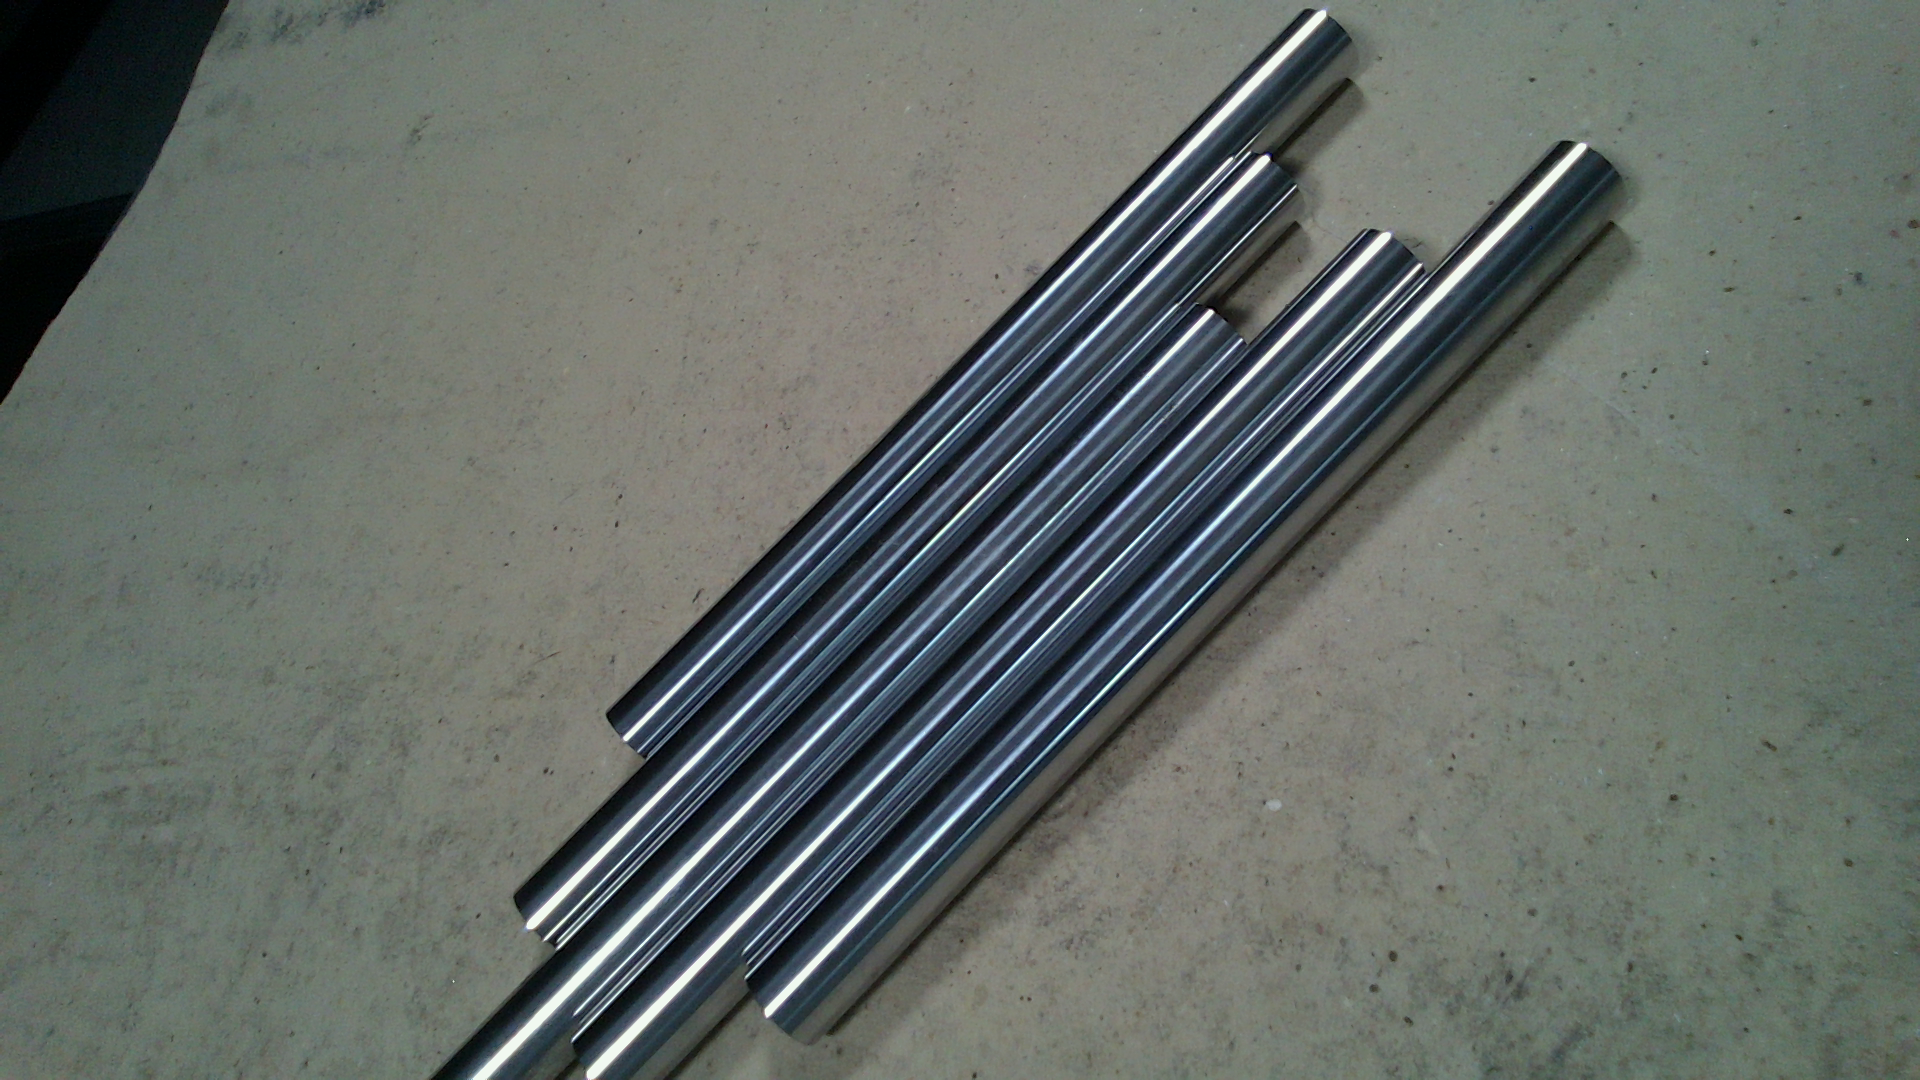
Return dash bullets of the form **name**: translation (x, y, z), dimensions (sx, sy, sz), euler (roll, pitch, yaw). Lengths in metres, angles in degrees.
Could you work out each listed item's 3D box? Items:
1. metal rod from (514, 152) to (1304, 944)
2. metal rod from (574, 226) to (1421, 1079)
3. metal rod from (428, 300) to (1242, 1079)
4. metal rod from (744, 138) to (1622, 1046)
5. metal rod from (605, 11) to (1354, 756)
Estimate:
- **metal rod**: translation (-0.012, 0.001, 0.400), dimensions (0.300, 0.025, 0.025), euler (-46, 51, -3)
- **metal rod**: translation (0.013, 0.031, 0.368), dimensions (0.300, 0.025, 0.025), euler (-46, 51, -3)
- **metal rod**: translation (-0.031, 0.048, 0.381), dimensions (0.300, 0.025, 0.025), euler (-46, 51, -3)
- **metal rod**: translation (0.059, 0.011, 0.355), dimensions (0.300, 0.025, 0.025), euler (-46, 51, -3)
- **metal rod**: translation (0.008, -0.047, 0.419), dimensions (0.300, 0.025, 0.025), euler (-46, 51, -3)
